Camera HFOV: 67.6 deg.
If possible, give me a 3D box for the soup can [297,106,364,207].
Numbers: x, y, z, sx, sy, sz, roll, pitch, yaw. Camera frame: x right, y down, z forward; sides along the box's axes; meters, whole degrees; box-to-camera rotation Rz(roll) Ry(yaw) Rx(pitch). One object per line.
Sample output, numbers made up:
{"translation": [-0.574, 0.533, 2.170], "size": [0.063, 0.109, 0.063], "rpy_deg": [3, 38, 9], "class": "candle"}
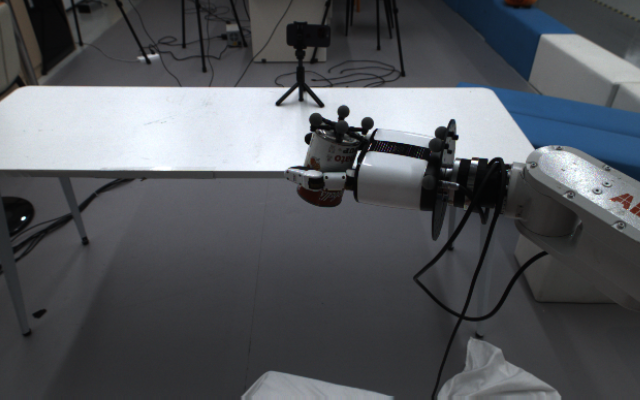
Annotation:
{"translation": [0.012, -0.050, 0.673], "size": [0.067, 0.101, 0.067], "rpy_deg": [13, 30, -8], "class": "soup can"}
